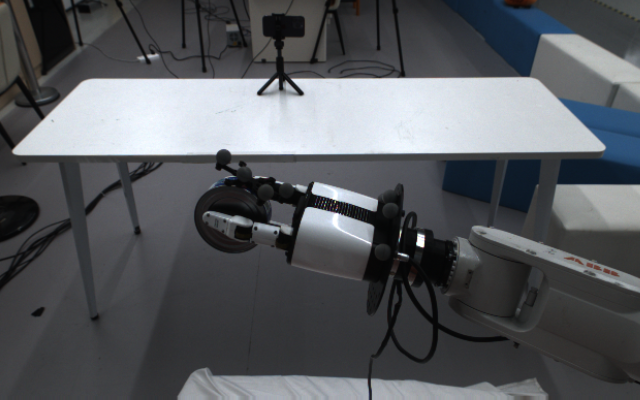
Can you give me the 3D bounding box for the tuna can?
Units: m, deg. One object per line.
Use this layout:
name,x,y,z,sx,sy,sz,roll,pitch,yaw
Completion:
tuna can,-0.100,0.018,0.571,0.085,0.085,0.034,4,20,3
